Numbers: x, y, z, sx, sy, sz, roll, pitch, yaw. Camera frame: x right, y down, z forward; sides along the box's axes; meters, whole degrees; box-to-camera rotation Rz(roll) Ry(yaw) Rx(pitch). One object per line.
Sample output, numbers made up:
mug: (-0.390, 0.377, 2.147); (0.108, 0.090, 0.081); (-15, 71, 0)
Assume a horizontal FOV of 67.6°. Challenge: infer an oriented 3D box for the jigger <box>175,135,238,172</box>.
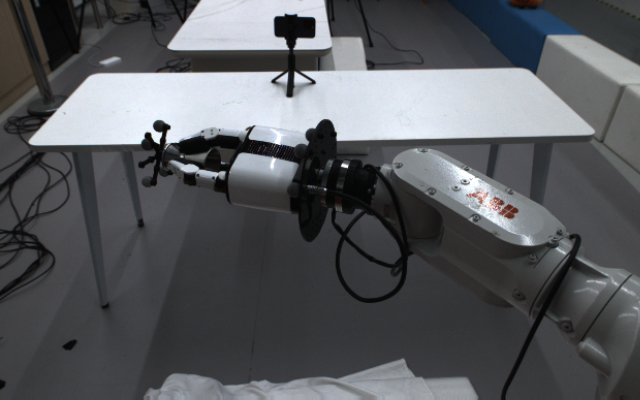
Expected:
jigger: (-0.172, -0.057, 0.670); (0.071, 0.043, 0.043); (11, 36, 15)
